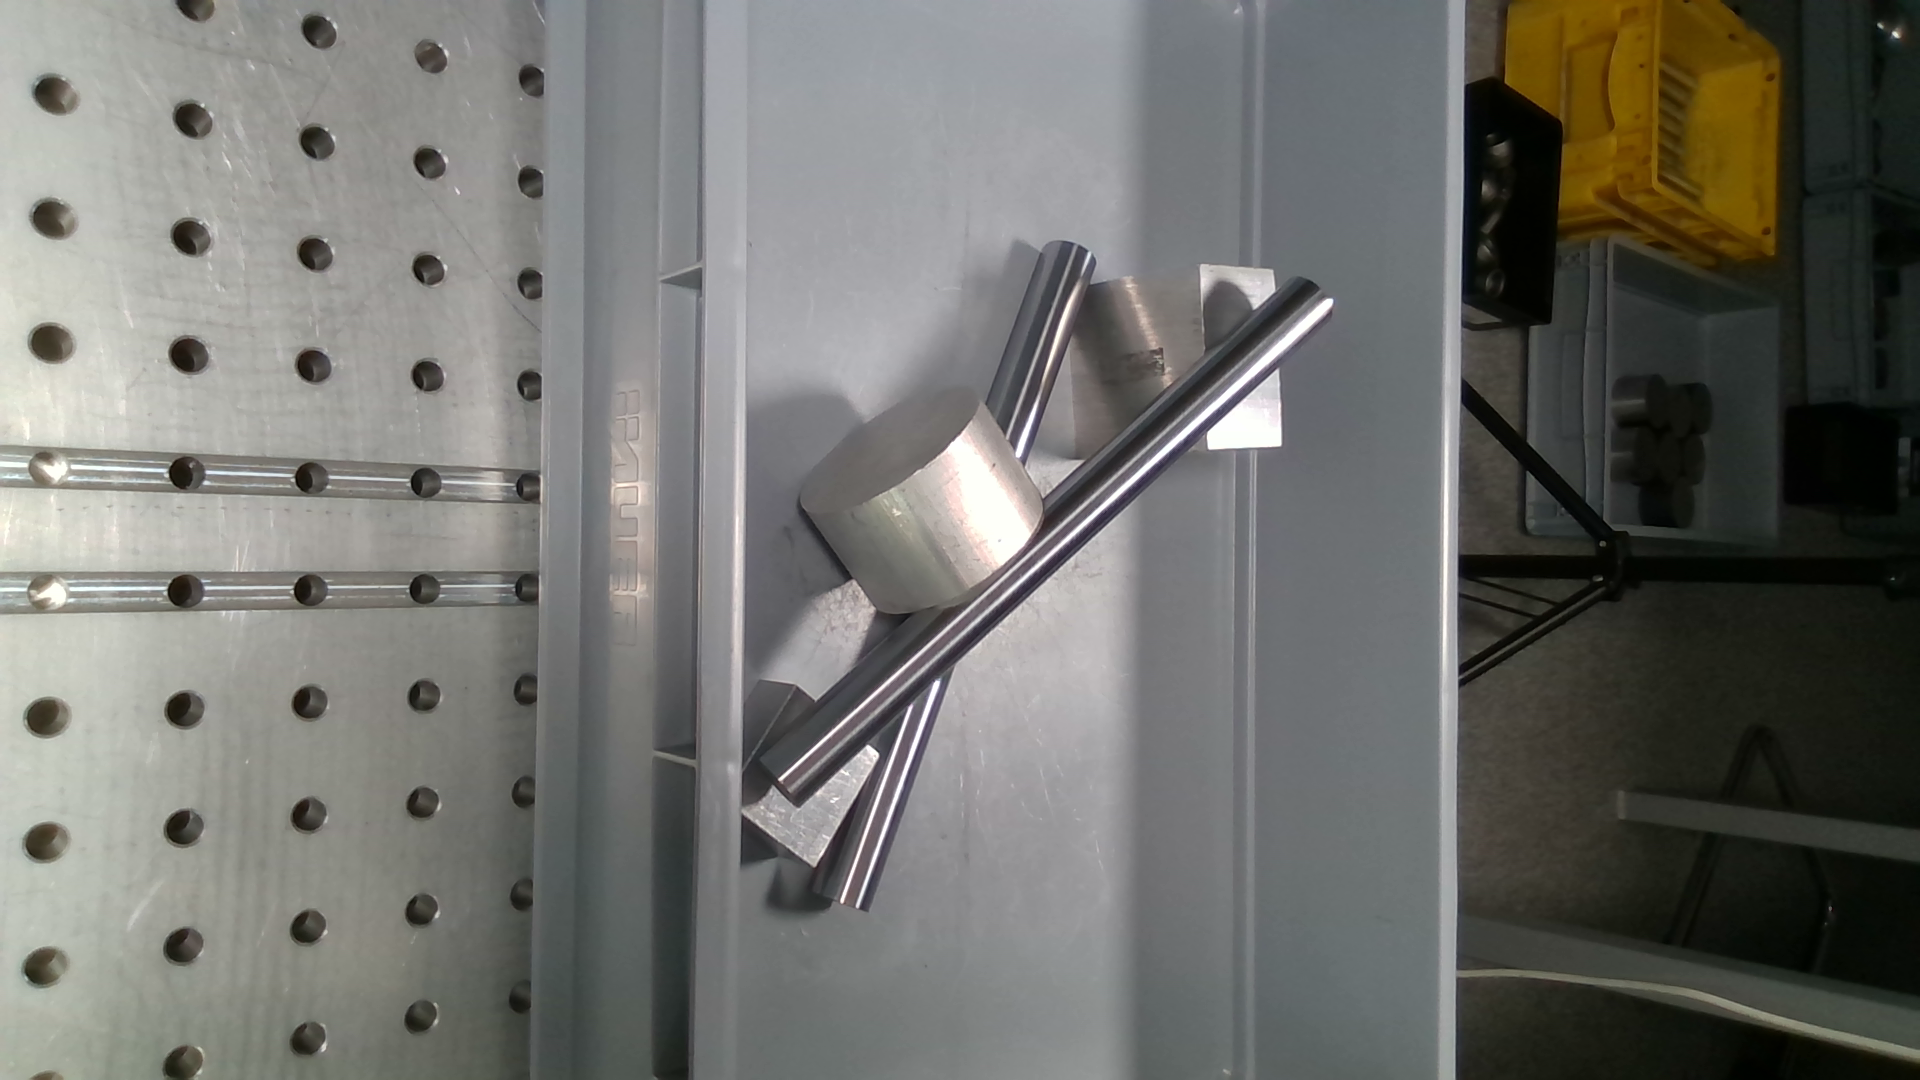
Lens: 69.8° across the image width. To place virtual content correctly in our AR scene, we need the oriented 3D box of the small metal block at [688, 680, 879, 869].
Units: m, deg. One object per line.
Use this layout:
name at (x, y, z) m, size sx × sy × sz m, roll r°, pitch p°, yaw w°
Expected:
small metal block at (-0.067, 0.089, 0.526) m, size 0.050 × 0.025 × 0.050 m, roll 46°, pitch 63°, yaw -31°

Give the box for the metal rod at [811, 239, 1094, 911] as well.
metal rod at (0.001, 0.007, 0.583) m, size 0.025 × 0.025 × 0.299 m, roll 31°, pitch 70°, yaw -36°

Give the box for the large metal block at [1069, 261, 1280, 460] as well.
large metal block at (0.096, -0.079, 0.628) m, size 0.050 × 0.080 × 0.080 m, roll -5°, pitch 93°, yaw -40°

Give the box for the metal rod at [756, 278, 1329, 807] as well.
metal rod at (0.041, -0.007, 0.540) m, size 0.300 × 0.025 × 0.025 m, roll -41°, pitch 116°, yaw -19°

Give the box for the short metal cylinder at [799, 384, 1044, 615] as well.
short metal cylinder at (-0.015, -0.016, 0.532) m, size 0.080 × 0.080 × 0.050 m, roll -48°, pitch 118°, yaw -30°
